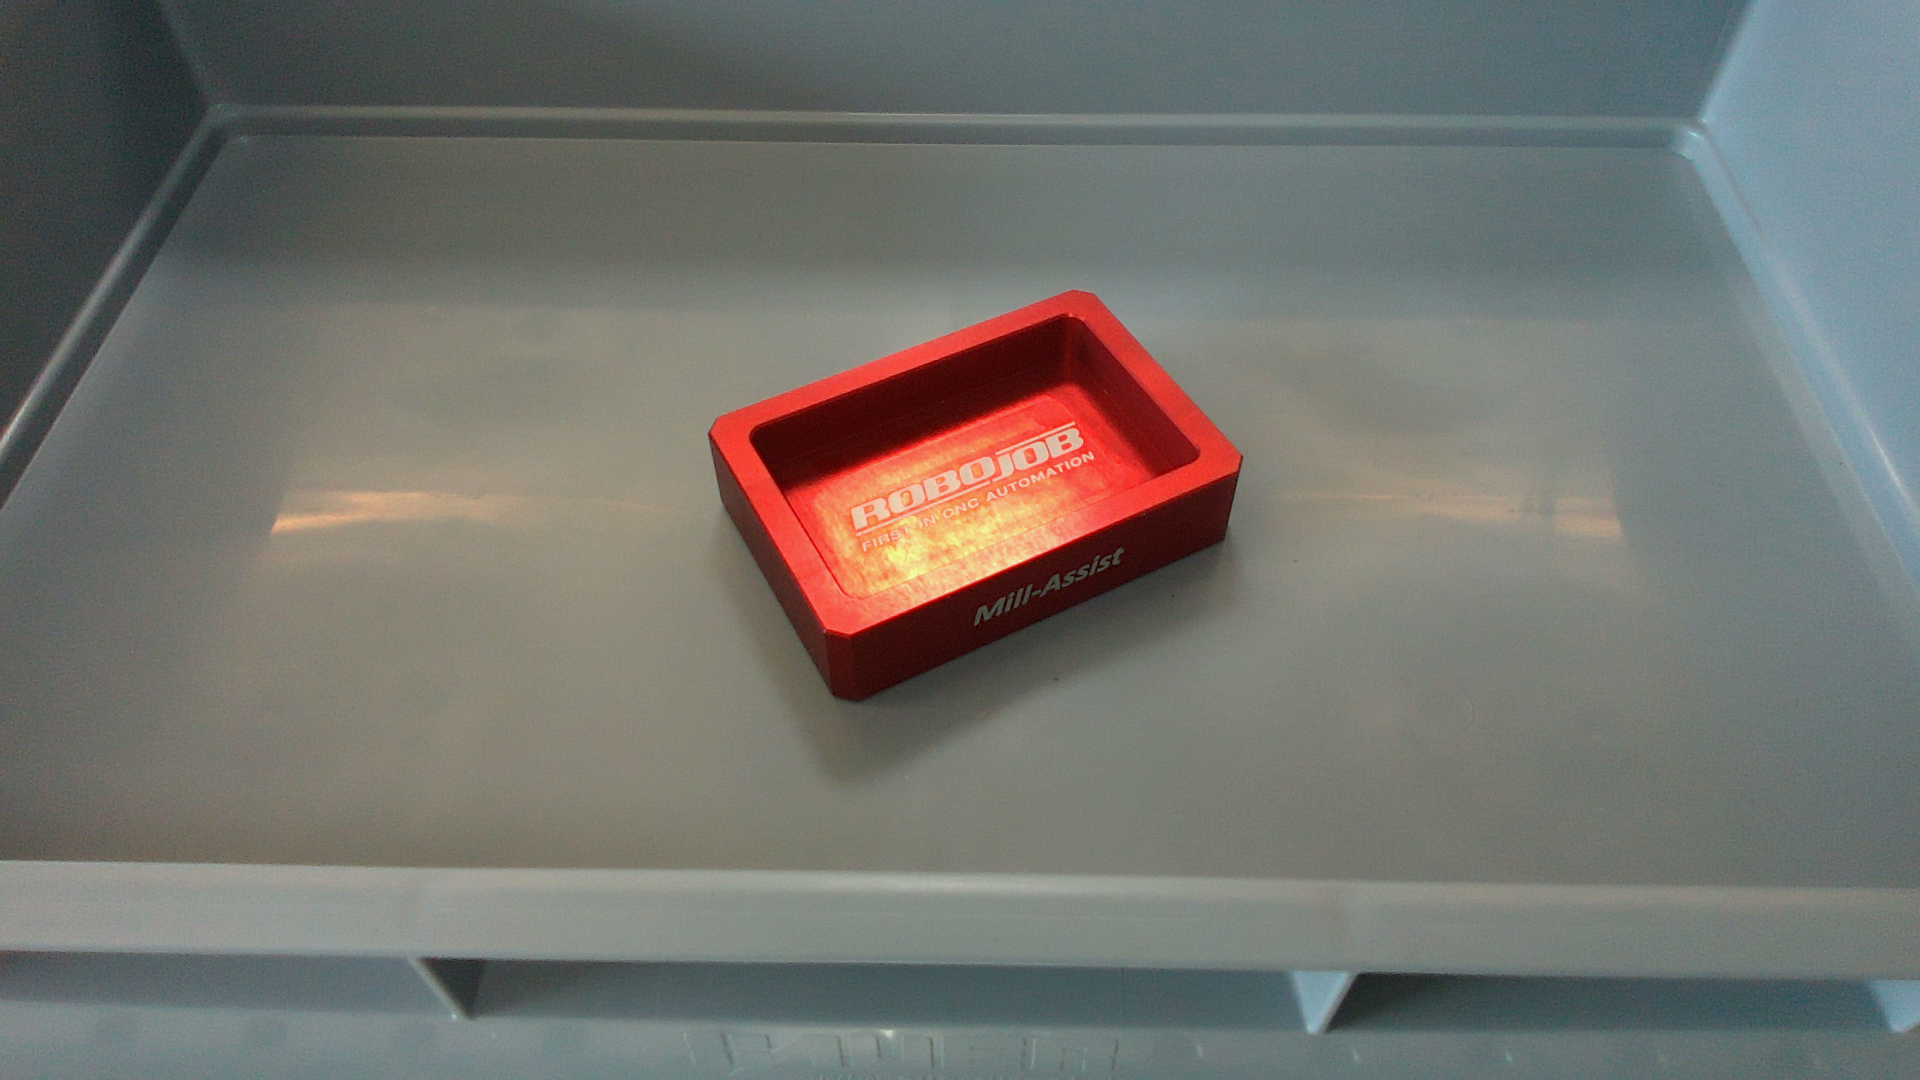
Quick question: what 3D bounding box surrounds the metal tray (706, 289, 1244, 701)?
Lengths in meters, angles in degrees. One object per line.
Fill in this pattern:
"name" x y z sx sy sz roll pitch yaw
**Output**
"metal tray" 0.004 -0.018 0.400 0.130 0.030 0.090 -22 54 -18
